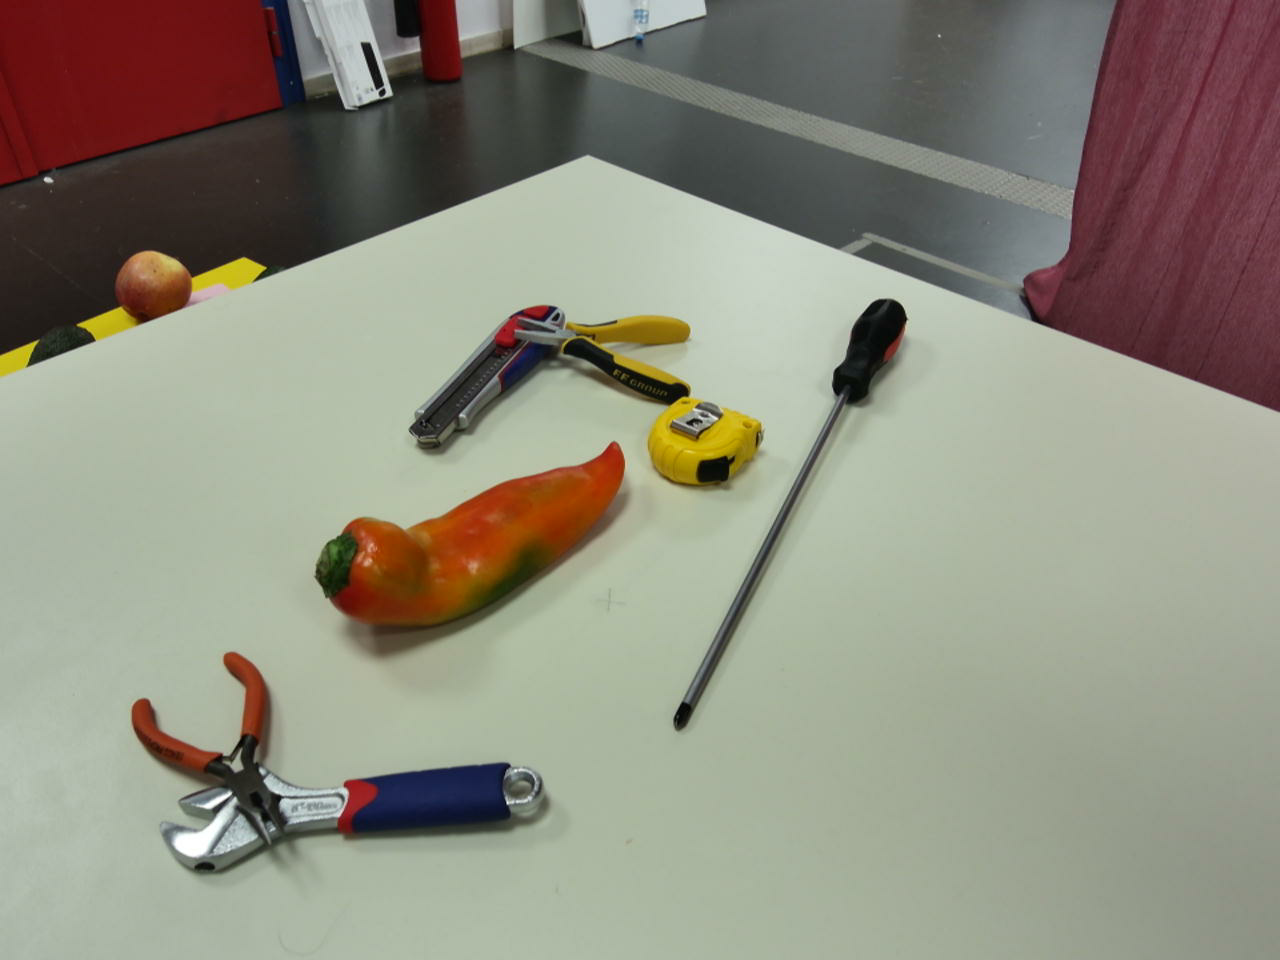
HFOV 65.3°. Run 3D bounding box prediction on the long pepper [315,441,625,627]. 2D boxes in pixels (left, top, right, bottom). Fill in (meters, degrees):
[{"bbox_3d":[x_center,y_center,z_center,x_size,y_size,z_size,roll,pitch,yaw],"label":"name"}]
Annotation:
[{"bbox_3d":[-0.080,0.019,0.539,0.199,0.065,0.066,-29,47,-34],"label":"long pepper"}]
